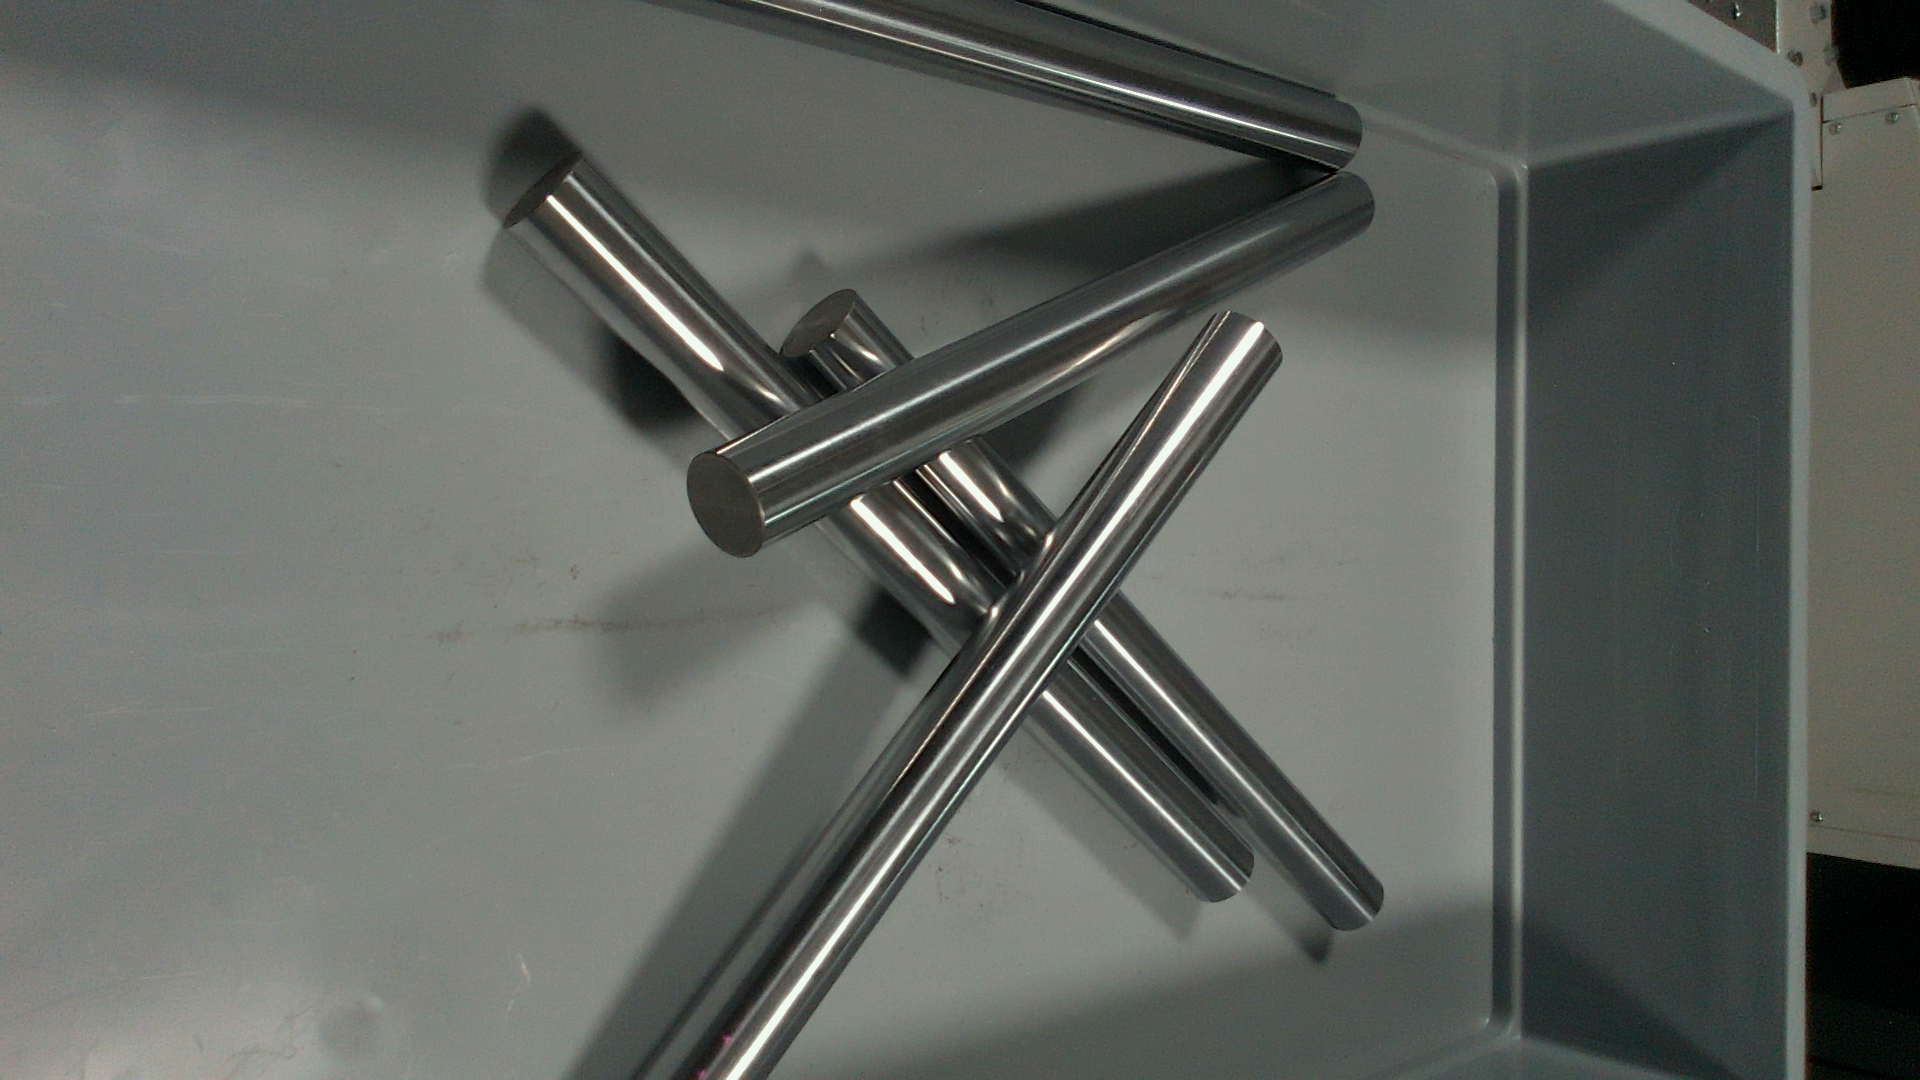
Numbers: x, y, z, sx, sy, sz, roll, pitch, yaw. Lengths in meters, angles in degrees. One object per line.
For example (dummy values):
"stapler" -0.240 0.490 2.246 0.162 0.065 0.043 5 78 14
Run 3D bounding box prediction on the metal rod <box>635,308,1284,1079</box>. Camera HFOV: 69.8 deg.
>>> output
"metal rod" -0.003 0.053 0.359 0.301 0.025 0.025 -52 121 -18

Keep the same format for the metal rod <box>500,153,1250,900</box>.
"metal rod" -0.004 0.015 0.385 0.301 0.025 0.025 46 63 -30

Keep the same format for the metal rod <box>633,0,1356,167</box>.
"metal rod" 0.017 -0.143 0.403 0.301 0.025 0.025 -1 91 -40

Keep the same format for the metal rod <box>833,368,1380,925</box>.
"metal rod" 0.053 0.037 0.433 0.301 0.025 0.025 46 63 -30

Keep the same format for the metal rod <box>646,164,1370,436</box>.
"metal rod" 0.039 -0.080 0.401 0.301 0.025 0.025 -25 106 -43
